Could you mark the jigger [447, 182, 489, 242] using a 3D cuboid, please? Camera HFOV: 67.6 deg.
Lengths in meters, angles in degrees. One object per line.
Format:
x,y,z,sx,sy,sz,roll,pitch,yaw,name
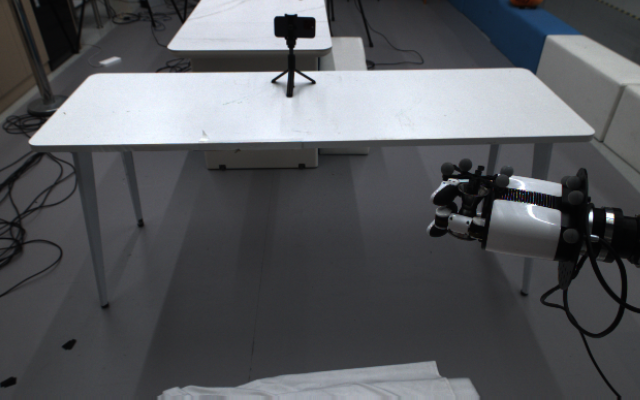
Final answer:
0.207,0.014,0.668,0.043,0.071,0.043,3,25,-1,jigger
